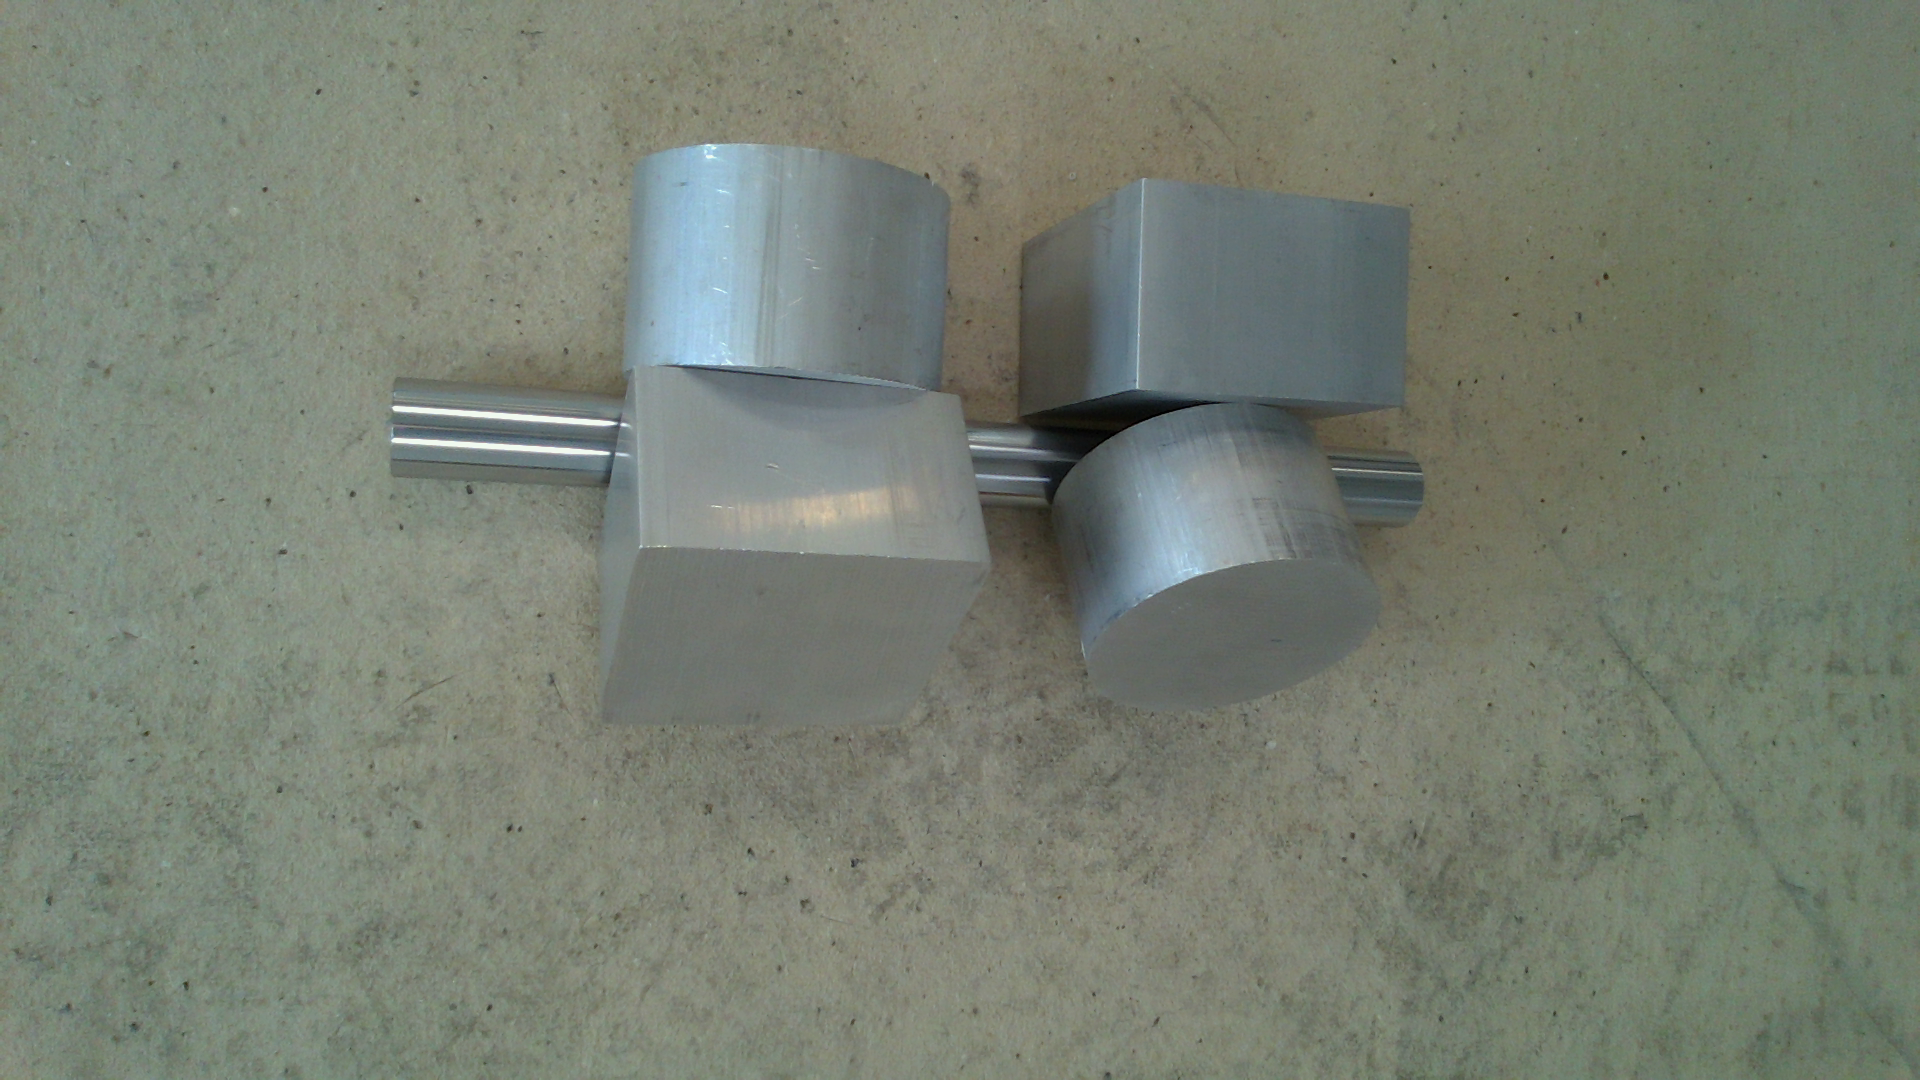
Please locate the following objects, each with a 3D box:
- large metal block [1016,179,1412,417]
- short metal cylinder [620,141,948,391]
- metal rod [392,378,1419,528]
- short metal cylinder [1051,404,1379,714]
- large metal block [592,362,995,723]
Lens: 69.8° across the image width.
[{"bbox_3d":[0.068,-0.063,0.389,0.080,0.080,0.050,1,90,-20],"label":"large metal block"},{"bbox_3d":[-0.044,-0.064,0.348,0.080,0.080,0.050,4,89,-20],"label":"short metal cylinder"},{"bbox_3d":[0.000,-0.022,0.395,0.301,0.025,0.025,2,89,-20],"label":"metal rod"},{"bbox_3d":[0.069,0.007,0.383,0.080,0.080,0.050,2,55,-20],"label":"short metal cylinder"},{"bbox_3d":[-0.046,0.005,0.341,0.080,0.080,0.050,3,55,-20],"label":"large metal block"}]
